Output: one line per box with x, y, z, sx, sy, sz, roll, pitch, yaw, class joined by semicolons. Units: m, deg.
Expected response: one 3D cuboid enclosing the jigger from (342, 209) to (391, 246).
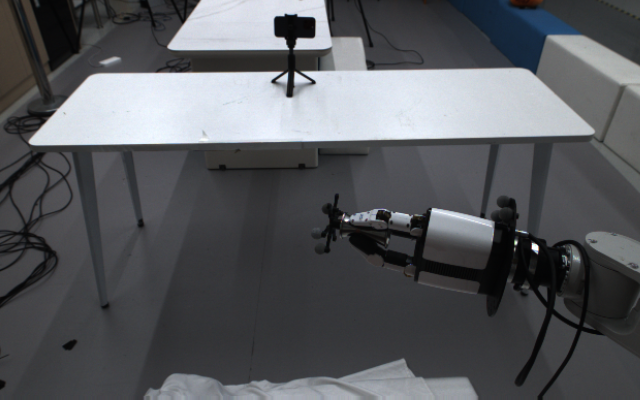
0.072;0.037;0.691;0.071;0.043;0.043;9;35;16;jigger
